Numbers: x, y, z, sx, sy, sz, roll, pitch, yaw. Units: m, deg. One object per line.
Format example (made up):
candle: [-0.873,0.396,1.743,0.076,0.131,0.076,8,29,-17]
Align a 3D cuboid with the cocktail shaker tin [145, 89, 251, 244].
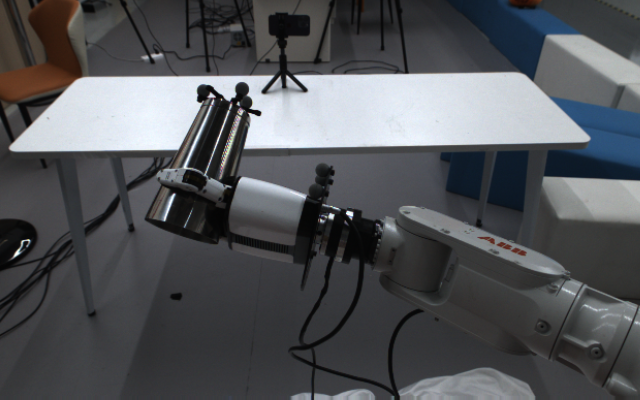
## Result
cocktail shaker tin: [-0.146,-0.039,0.612,0.093,0.093,0.170,12,74,15]
